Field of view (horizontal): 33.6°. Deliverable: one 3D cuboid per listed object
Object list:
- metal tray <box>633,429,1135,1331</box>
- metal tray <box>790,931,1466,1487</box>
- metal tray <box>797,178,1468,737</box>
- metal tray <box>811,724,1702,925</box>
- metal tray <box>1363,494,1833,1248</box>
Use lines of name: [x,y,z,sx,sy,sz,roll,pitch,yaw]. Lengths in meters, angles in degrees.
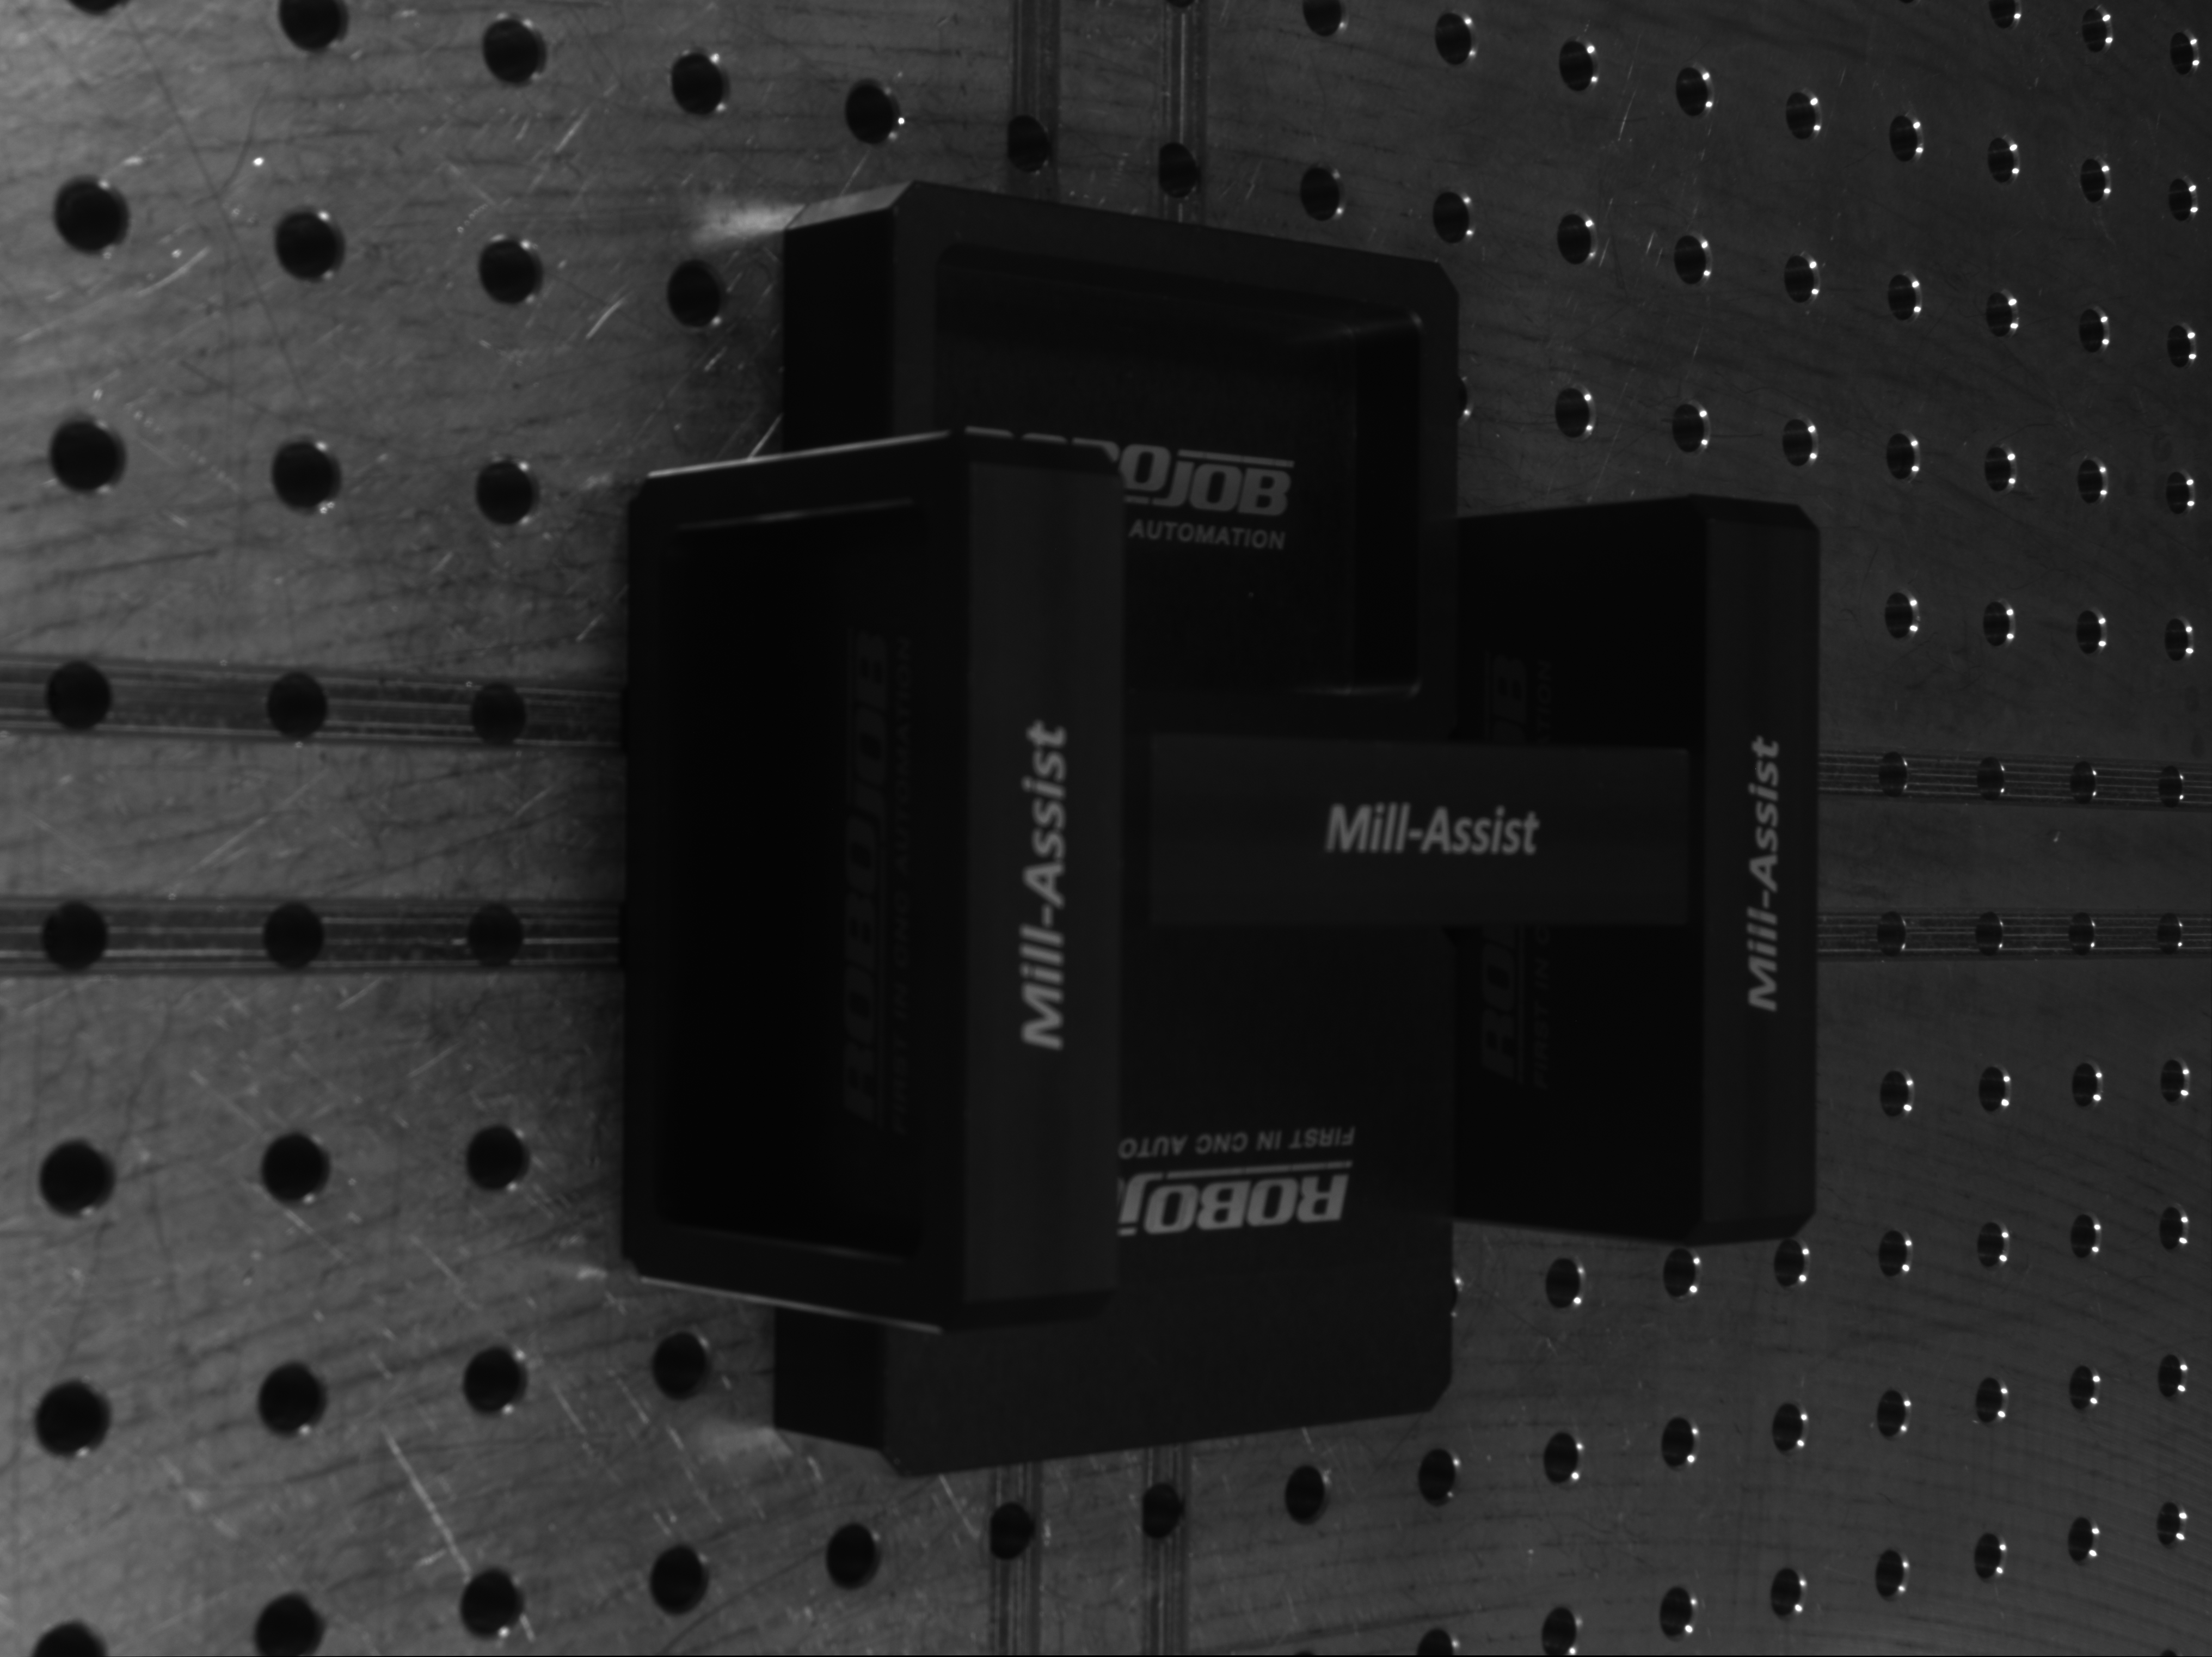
metal tray: [-0.036,0.008,0.567,0.030,0.090,0.130,1,89,-40]
metal tray: [0.007,0.062,0.641,0.130,0.030,0.090,1,89,-40]
metal tray: [0.007,-0.060,0.643,0.130,0.030,0.090,1,89,-40]
metal tray: [0.026,0.000,0.618,0.130,0.090,0.030,1,89,-40]
metal tray: [0.088,0.008,0.671,0.030,0.090,0.130,1,89,-40]
